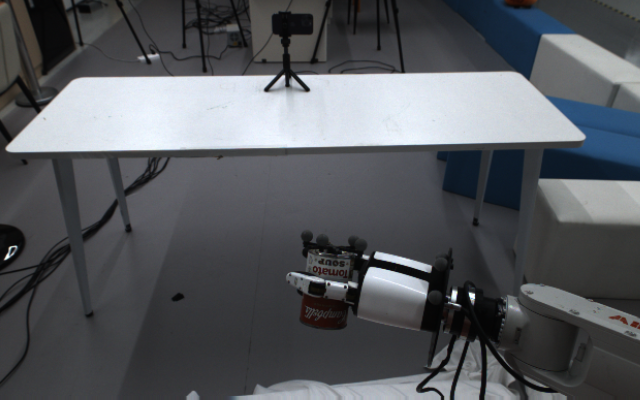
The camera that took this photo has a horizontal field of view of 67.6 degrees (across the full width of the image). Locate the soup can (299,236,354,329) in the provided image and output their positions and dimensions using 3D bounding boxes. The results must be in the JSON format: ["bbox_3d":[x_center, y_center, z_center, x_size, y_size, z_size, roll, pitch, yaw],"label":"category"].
[{"bbox_3d":[0.011,0.121,0.673,0.067,0.101,0.067,7,3,0],"label":"soup can"}]
